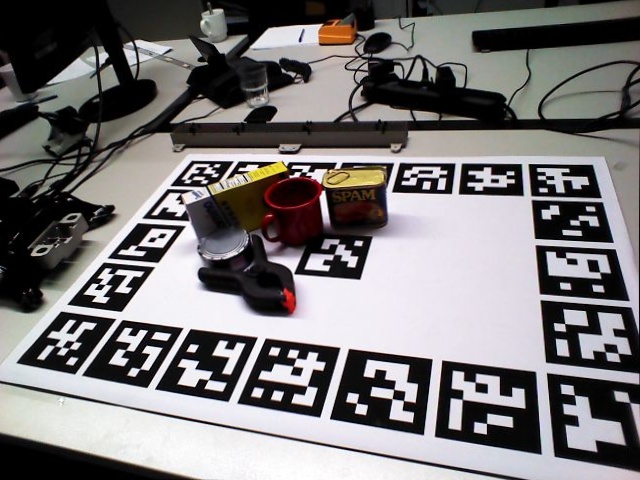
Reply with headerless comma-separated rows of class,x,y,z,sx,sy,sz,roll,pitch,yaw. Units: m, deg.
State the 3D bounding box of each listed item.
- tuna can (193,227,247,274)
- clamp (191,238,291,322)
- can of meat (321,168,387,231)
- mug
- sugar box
tuna can,-0.159,0.020,0.805,0.086,0.034,0.085,-8,40,6
clamp,-0.097,0.062,0.745,0.121,0.037,0.165,-30,46,-28
can of meat,0.057,-0.064,0.824,0.102,0.084,0.057,-2,38,10
mug,-0.053,-0.042,0.813,0.094,0.081,0.116,23,51,35
sugar box,-0.137,-0.053,0.853,0.176,0.093,0.045,-20,38,-13
